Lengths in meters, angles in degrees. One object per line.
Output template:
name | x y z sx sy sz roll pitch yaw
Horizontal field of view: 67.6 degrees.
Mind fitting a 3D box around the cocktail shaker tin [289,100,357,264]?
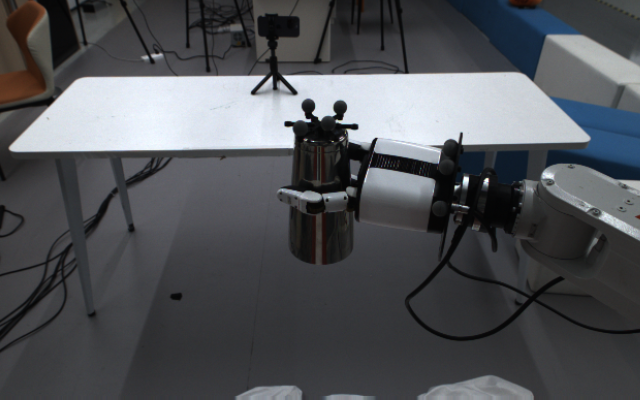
cocktail shaker tin | 0.003 -0.012 0.632 0.093 0.170 0.093 0 33 0
